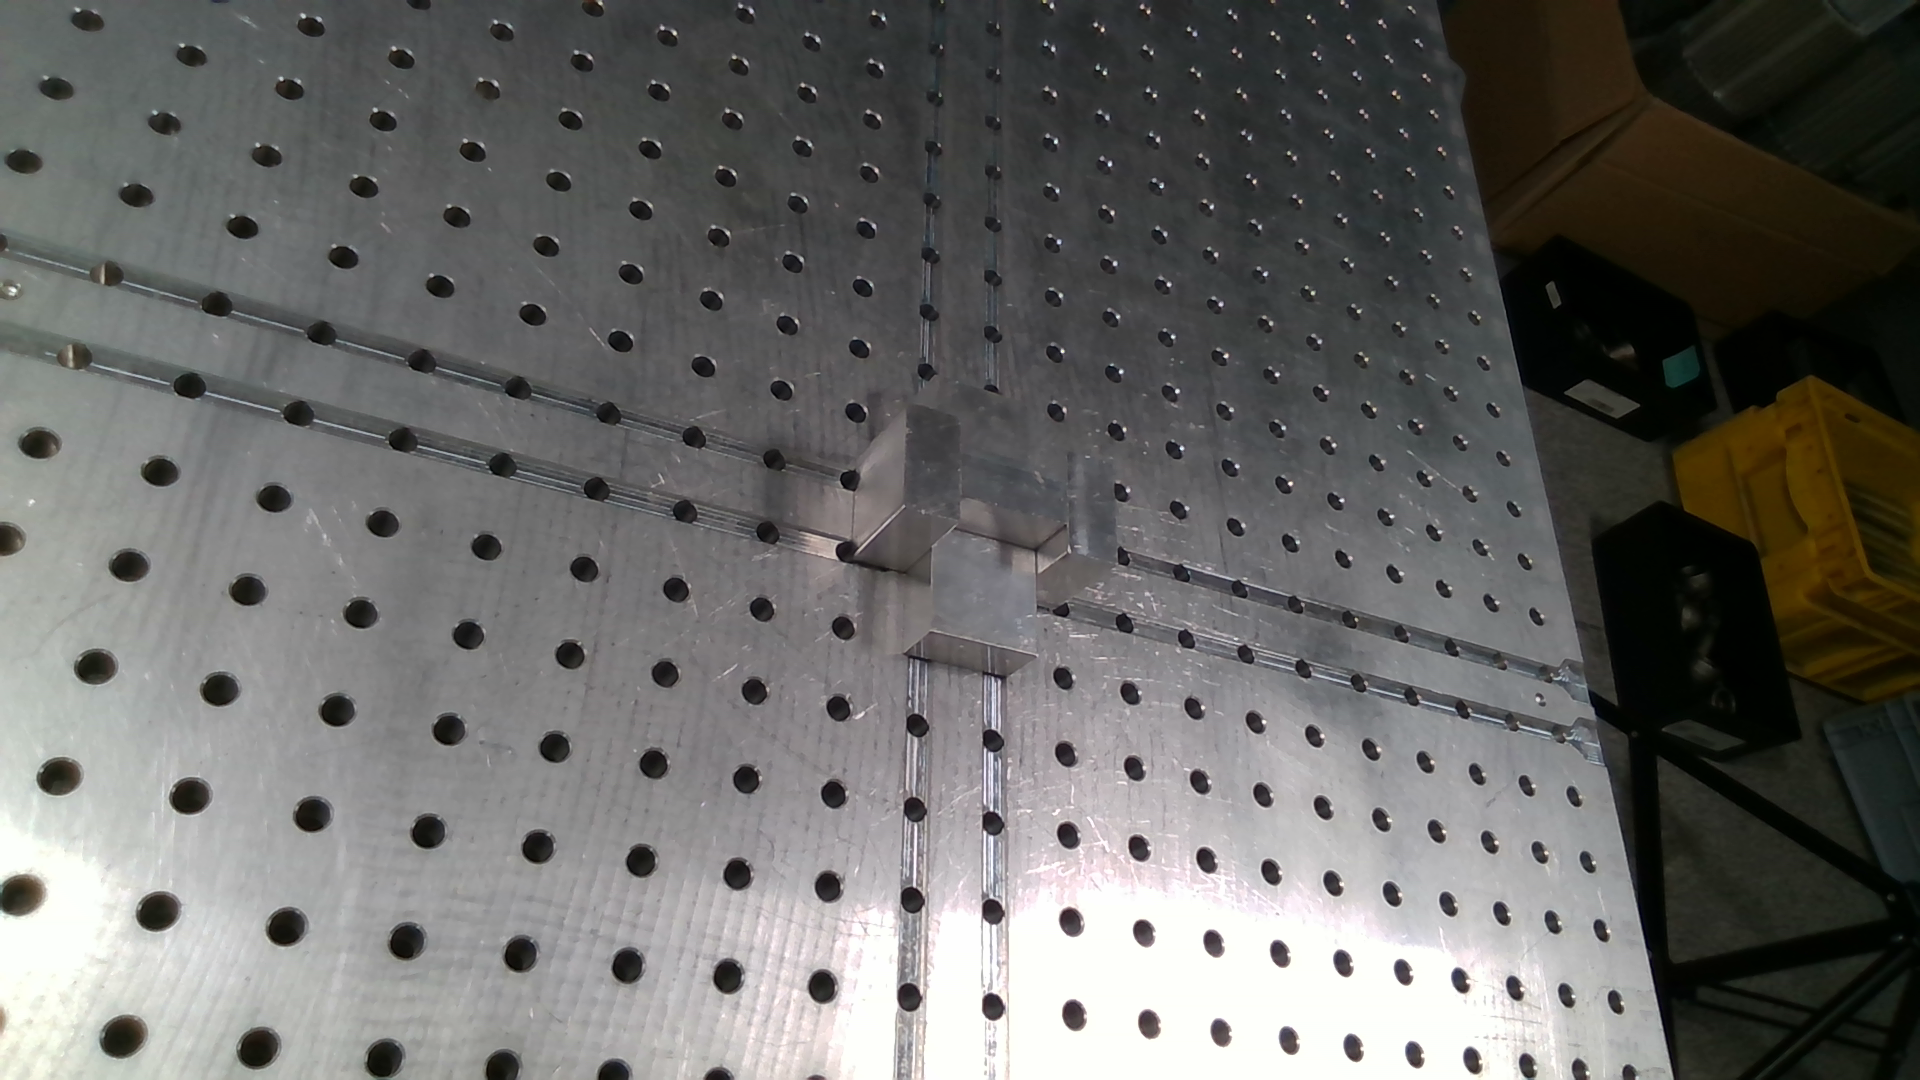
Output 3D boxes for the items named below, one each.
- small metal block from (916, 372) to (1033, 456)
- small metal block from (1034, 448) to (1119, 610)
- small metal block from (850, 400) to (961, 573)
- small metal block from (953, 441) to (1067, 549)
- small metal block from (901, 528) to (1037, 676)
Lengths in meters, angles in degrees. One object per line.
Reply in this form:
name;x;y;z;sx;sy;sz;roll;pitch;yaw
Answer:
small metal block;0.004;-0.041;0.613;0.050;0.025;0.050;15;58;-25
small metal block;0.044;-0.004;0.602;0.025;0.050;0.050;15;58;-24
small metal block;-0.023;-0.022;0.570;0.025;0.050;0.050;15;58;-24
small metal block;0.011;-0.013;0.586;0.050;0.050;0.025;15;58;-24
small metal block;0.004;0.025;0.578;0.050;0.025;0.050;15;58;-24
